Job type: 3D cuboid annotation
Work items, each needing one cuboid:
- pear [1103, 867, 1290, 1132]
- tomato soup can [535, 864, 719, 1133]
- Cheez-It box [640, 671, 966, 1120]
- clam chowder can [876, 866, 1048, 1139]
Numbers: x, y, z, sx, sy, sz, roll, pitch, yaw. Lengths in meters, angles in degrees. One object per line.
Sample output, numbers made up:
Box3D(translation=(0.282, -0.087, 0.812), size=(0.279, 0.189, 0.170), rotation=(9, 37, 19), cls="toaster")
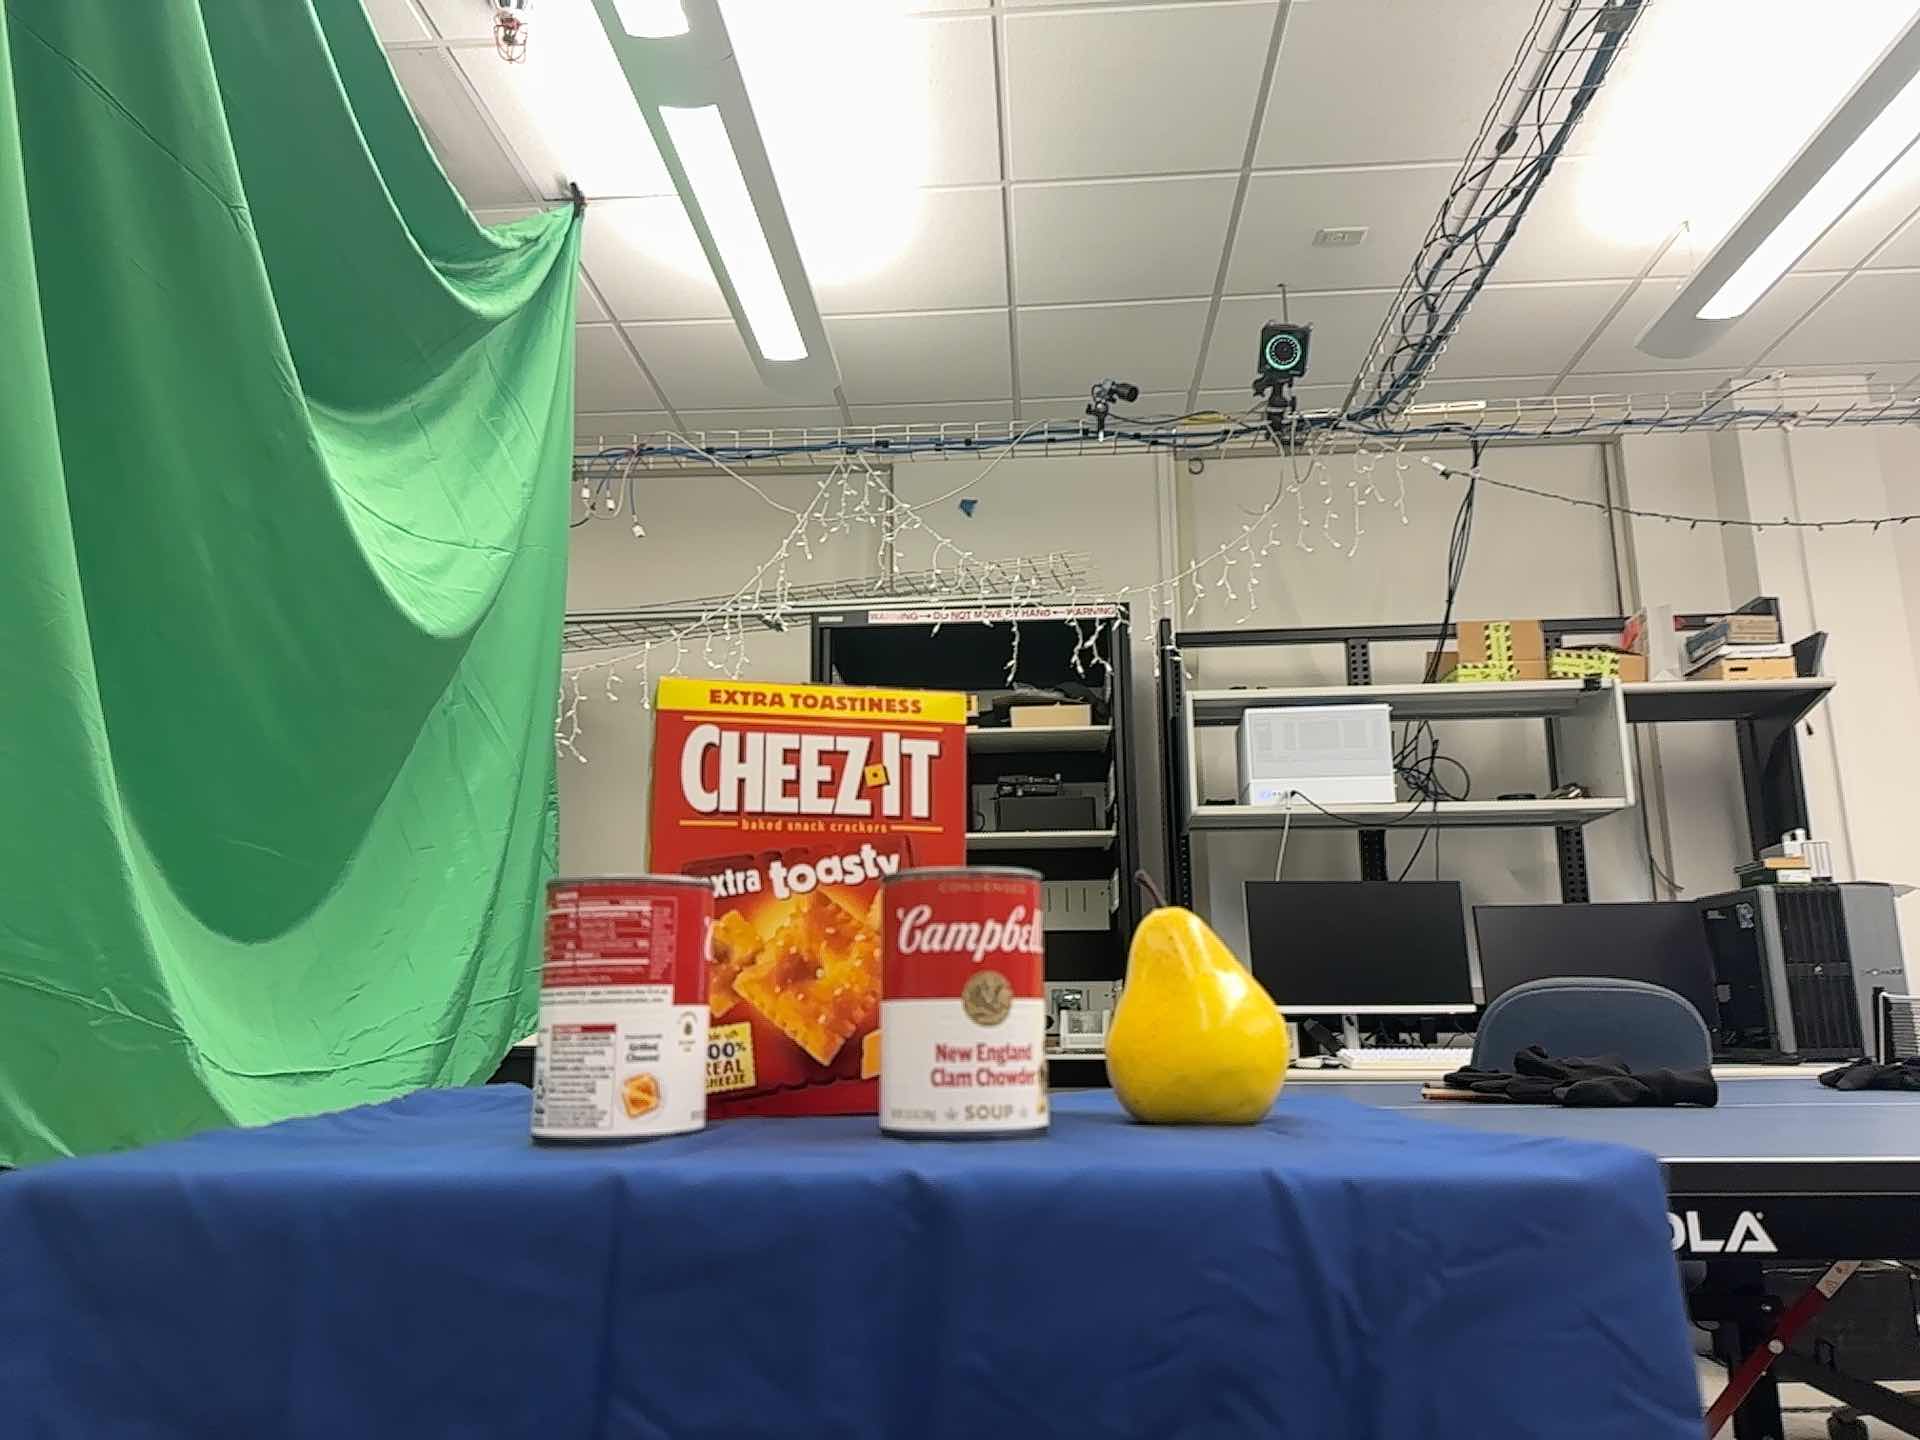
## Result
Box3D(translation=(0.102, 0.121, 0.588), size=(0.080, 0.111, 0.080), rotation=(2, -11, 0), cls="pear")
Box3D(translation=(-0.135, 0.112, 0.543), size=(0.067, 0.102, 0.067), rotation=(0, -13, 0), cls="tomato soup can")
Box3D(translation=(-0.082, 0.090, 0.701), size=(0.159, 0.214, 0.062), rotation=(3, -11, -14), cls="Cheez-It box")
Box3D(translation=(0.000, 0.113, 0.541), size=(0.068, 0.102, 0.068), rotation=(0, -12, 0), cls="clam chowder can")
